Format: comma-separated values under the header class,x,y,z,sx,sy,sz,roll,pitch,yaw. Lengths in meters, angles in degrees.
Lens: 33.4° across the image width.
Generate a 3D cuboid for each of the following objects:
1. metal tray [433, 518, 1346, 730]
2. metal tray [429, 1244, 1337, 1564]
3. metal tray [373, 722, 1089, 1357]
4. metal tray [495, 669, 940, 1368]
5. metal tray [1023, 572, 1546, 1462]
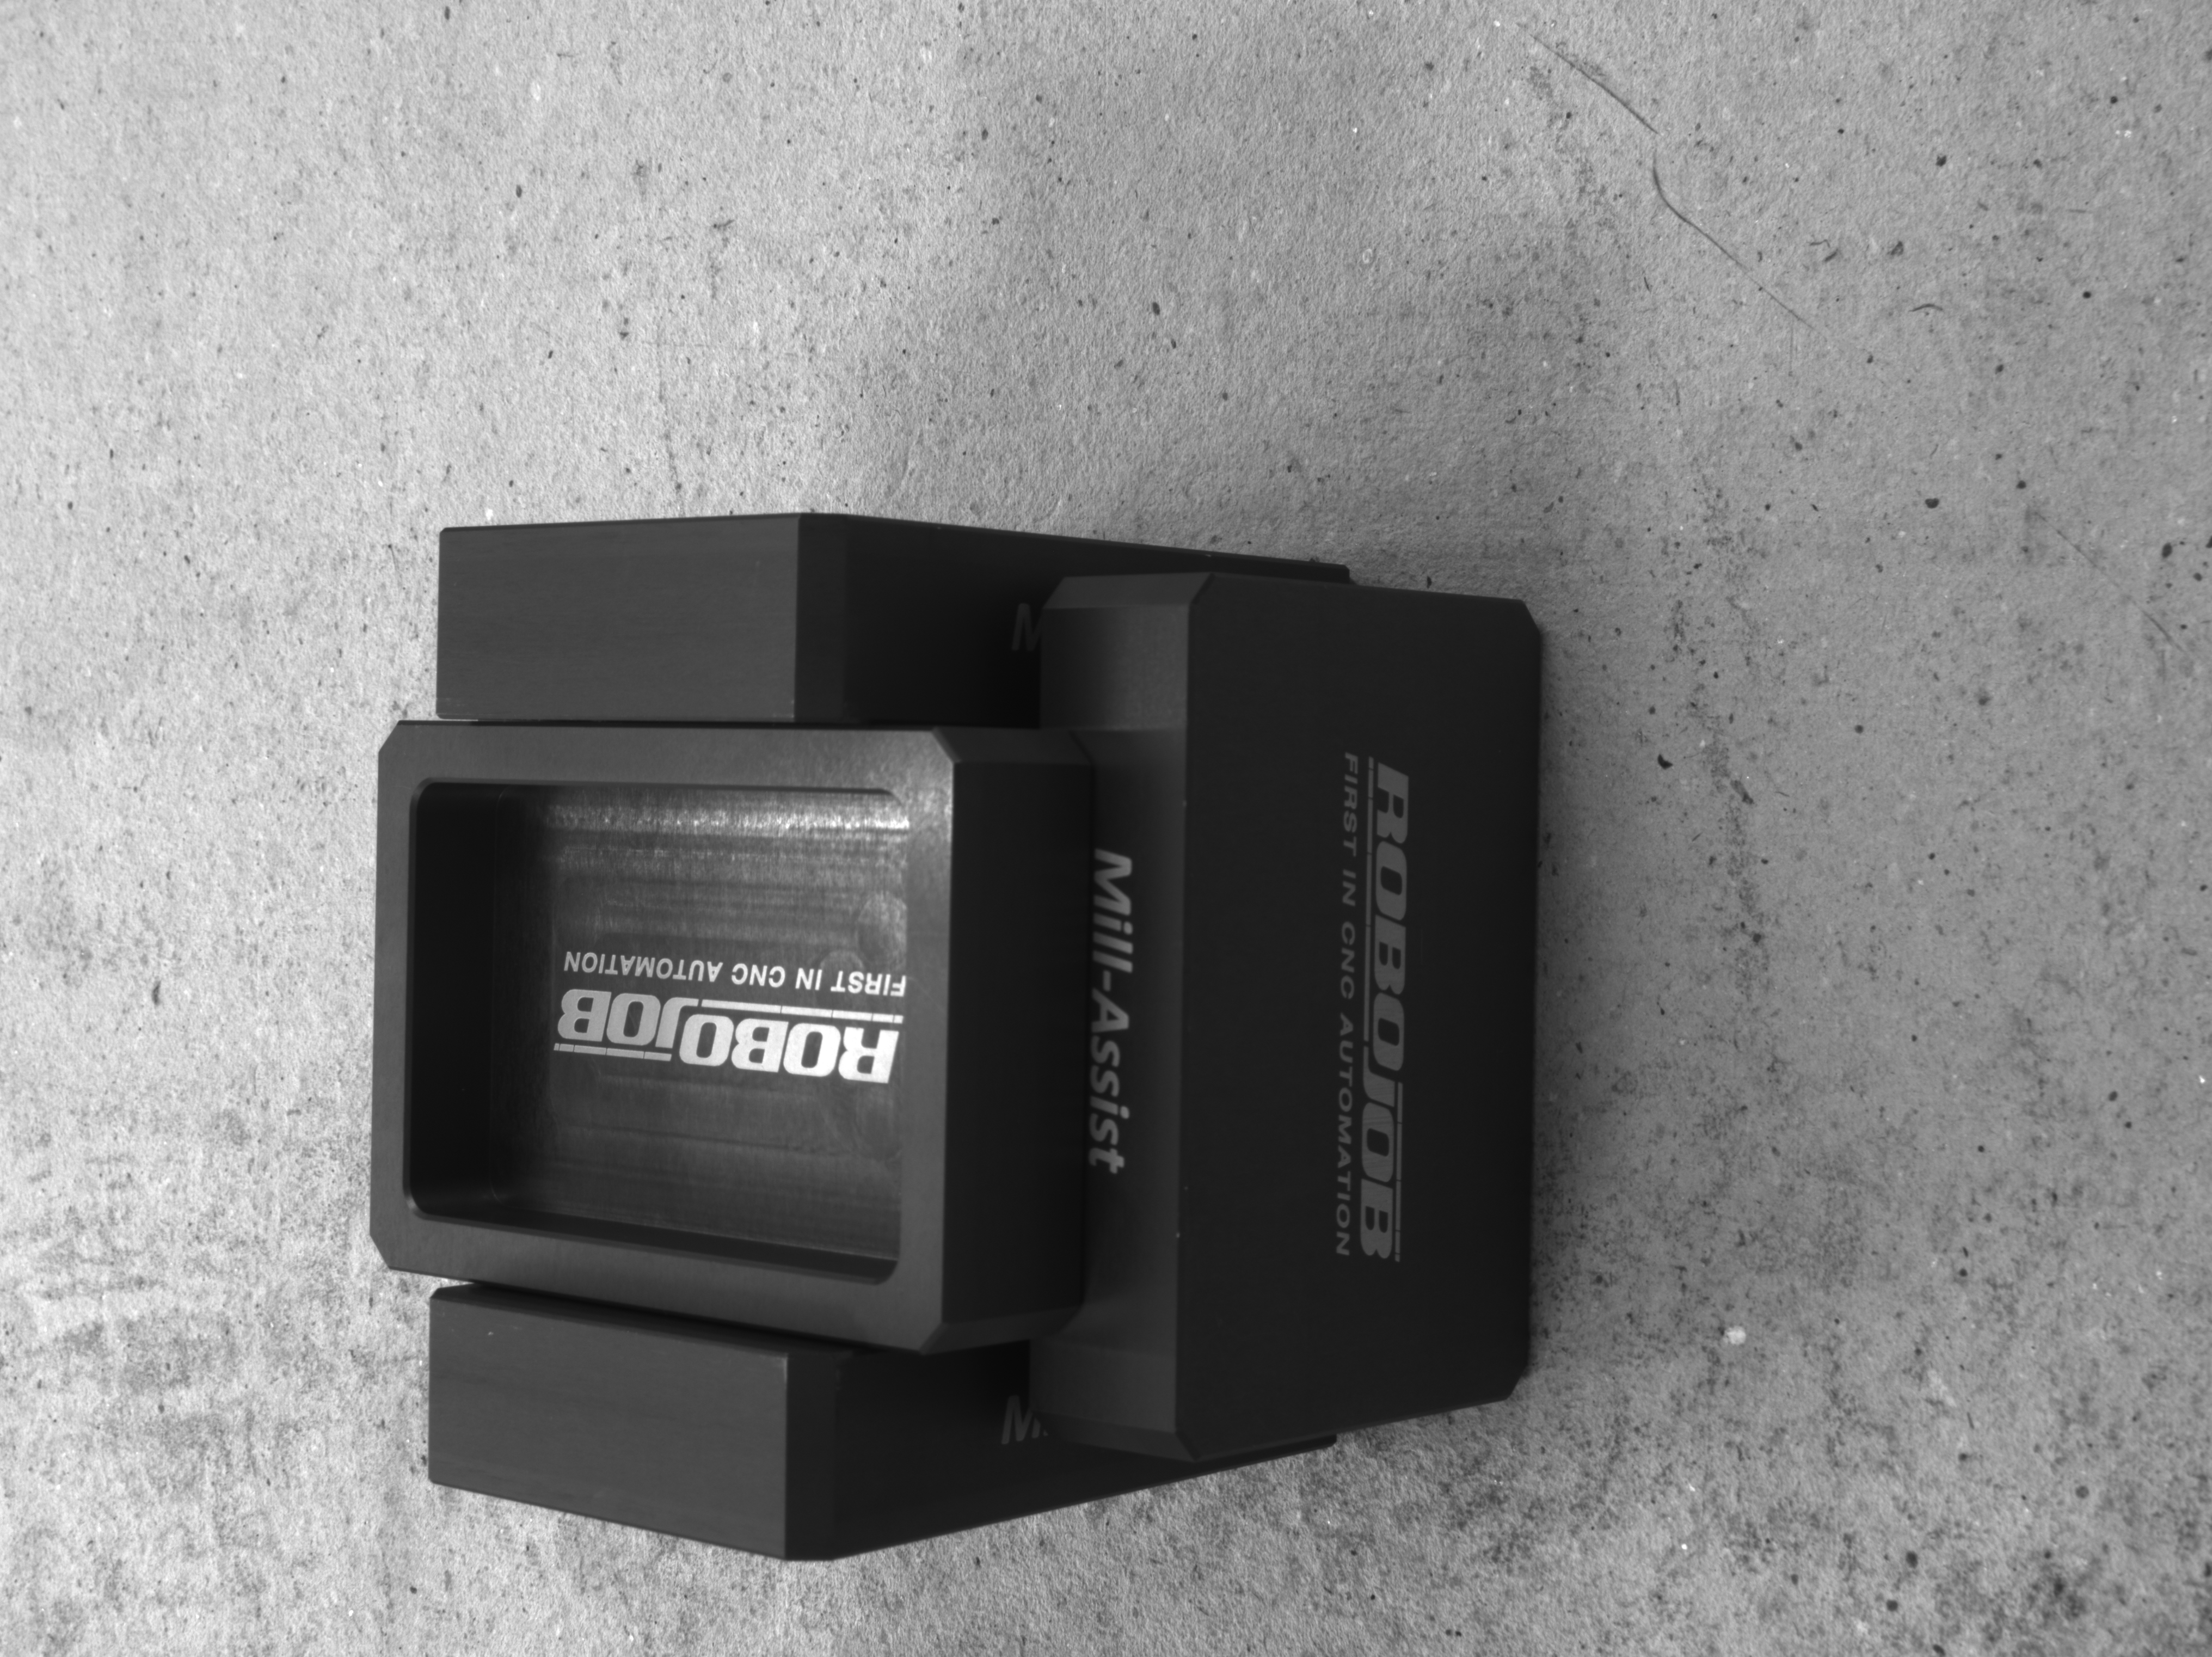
class,x,y,z,sx,sy,sz,roll,pitch,yaw
metal tray,-0.033,-0.030,0.603,0.090,0.130,0.030,2,91,40
metal tray,-0.034,0.089,0.605,0.090,0.130,0.030,2,92,40
metal tray,-0.062,0.029,0.576,0.130,0.030,0.090,2,92,40
metal tray,-0.068,0.034,0.660,0.030,0.090,0.130,-1,89,40
metal tray,0.030,0.028,0.577,0.030,0.090,0.130,2,90,41
